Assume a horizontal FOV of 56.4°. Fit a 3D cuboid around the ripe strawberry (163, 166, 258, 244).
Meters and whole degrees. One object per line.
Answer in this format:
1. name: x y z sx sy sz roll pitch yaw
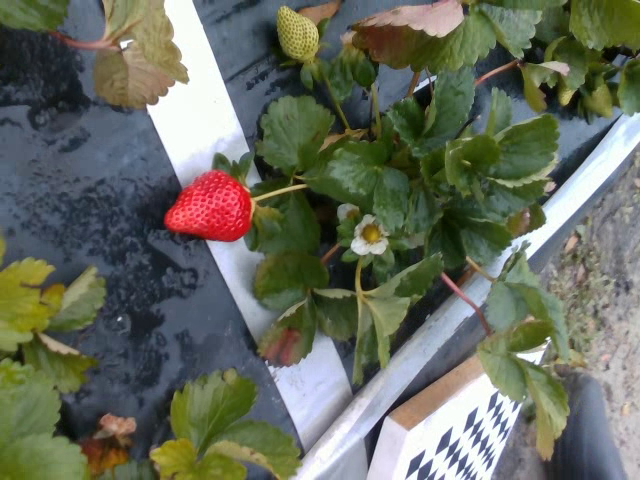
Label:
1. ripe strawberry: -0.056 -0.015 0.293 0.037 0.042 0.051 33 35 31
